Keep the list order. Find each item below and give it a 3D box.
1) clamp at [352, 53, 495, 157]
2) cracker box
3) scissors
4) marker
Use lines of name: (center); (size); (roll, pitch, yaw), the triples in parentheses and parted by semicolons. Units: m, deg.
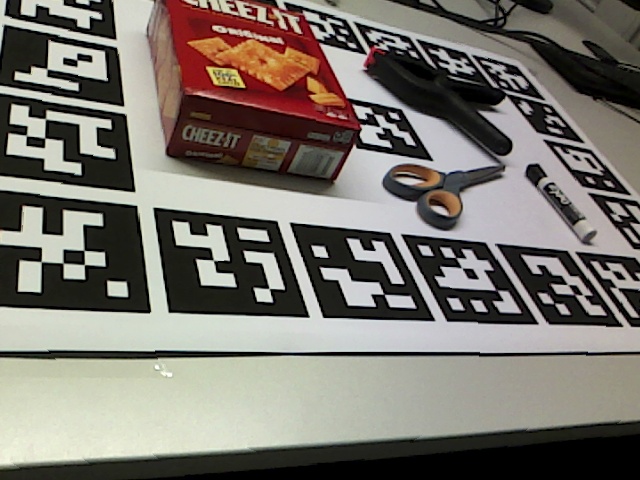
clamp: (0.139, -0.194, 0.824); (0.202, 0.036, 0.165); (25, 36, -5)
cracker box: (-0.067, -0.157, 0.607); (0.163, 0.072, 0.215); (5, 43, -27)
scissors: (0.151, -0.067, 0.675); (0.088, 0.016, 0.202); (42, 37, 20)
marker: (0.279, -0.055, 0.737); (0.019, 0.019, 0.122); (1, 44, -30)
